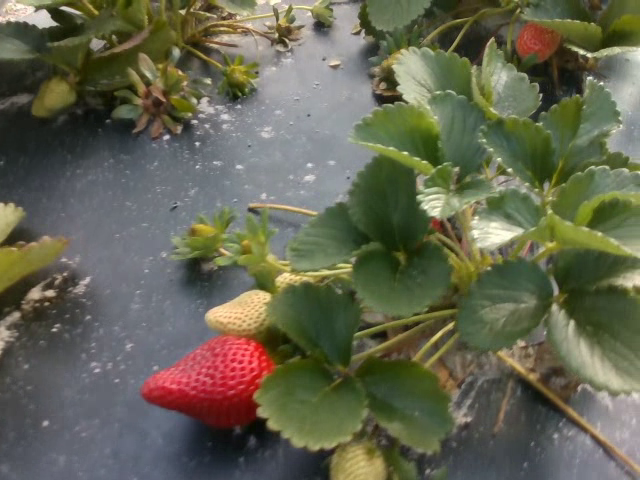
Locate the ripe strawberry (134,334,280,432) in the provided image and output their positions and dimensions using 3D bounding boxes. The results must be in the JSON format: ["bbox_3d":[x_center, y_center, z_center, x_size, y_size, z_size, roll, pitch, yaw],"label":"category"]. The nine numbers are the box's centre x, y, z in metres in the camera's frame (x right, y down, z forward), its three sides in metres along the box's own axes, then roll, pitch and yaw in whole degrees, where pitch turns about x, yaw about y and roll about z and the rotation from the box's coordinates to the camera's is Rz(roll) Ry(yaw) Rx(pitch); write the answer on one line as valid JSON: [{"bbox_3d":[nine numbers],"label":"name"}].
[{"bbox_3d":[-0.054,0.061,0.273,0.055,0.048,0.051,5,-1,-30],"label":"ripe strawberry"}]
